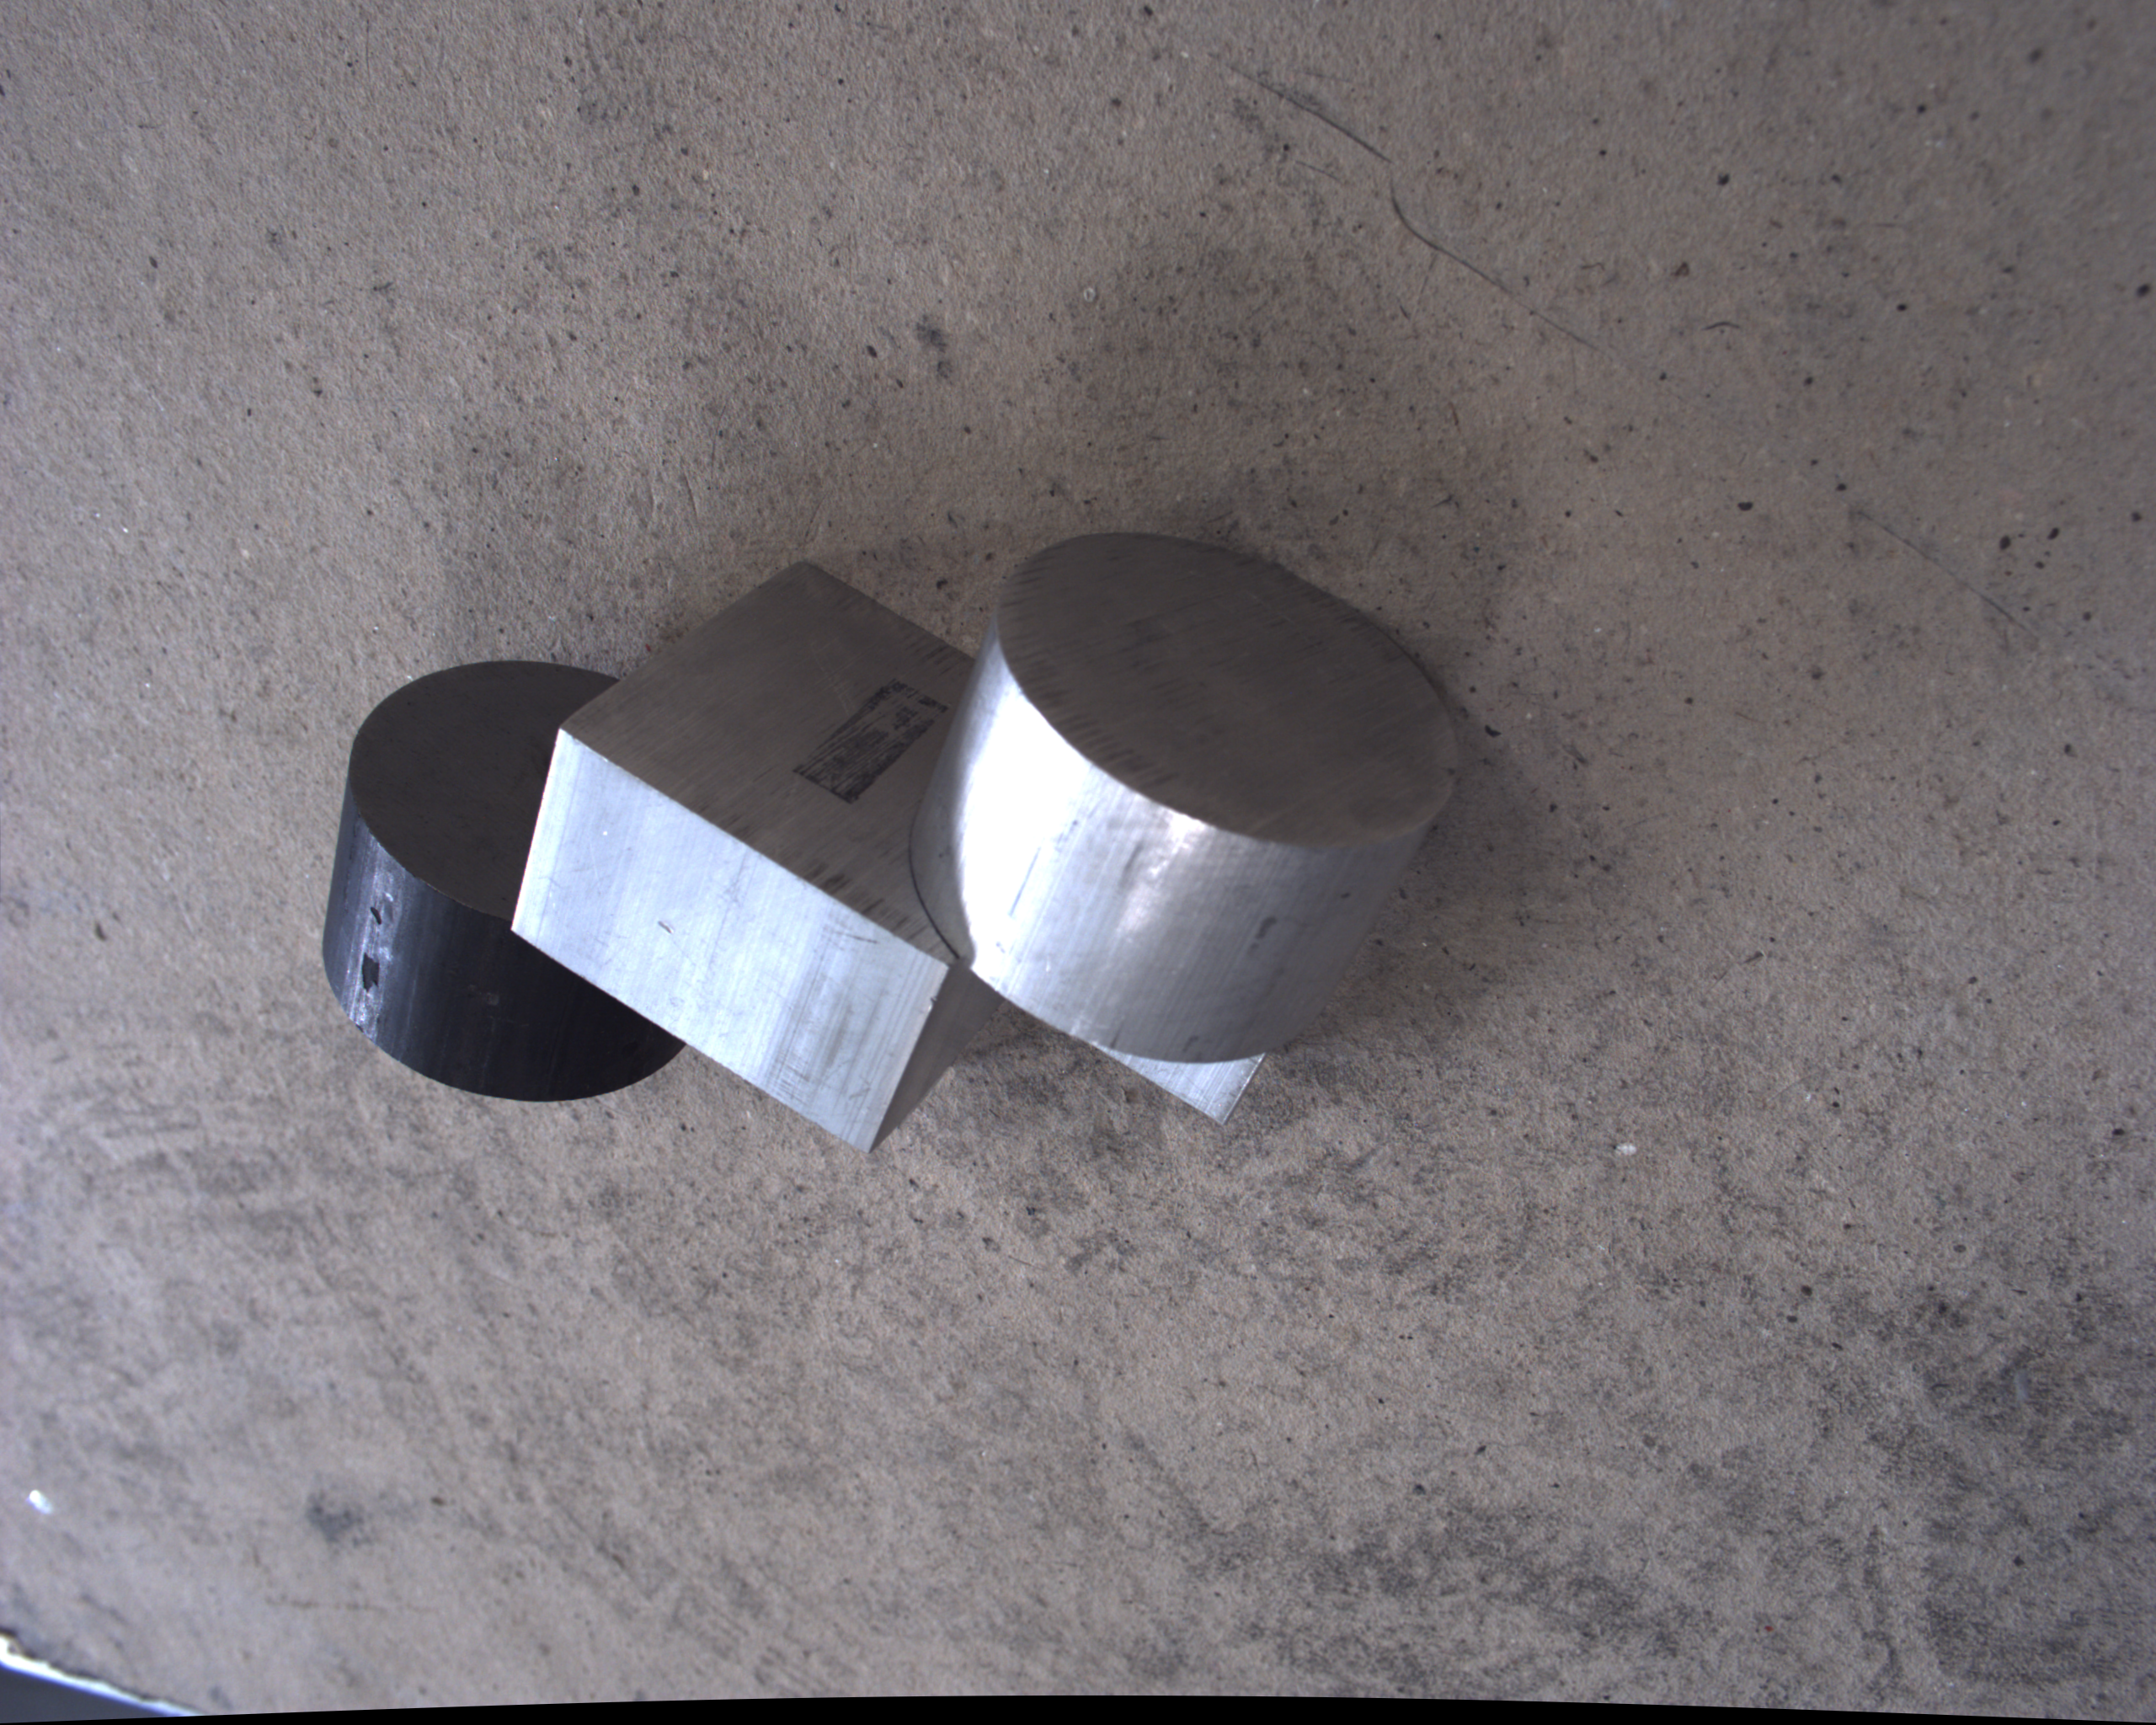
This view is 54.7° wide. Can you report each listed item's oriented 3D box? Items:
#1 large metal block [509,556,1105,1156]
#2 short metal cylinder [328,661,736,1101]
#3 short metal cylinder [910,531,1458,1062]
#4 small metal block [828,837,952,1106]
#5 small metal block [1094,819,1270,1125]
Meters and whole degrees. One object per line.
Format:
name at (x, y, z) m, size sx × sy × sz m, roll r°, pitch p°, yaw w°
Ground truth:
large metal block at (-0.046, -0.004, 0.395) m, size 0.080 × 0.080 × 0.050 m, roll 31°, pitch 128°, yaw 8°
short metal cylinder at (-0.111, 0.003, 0.433) m, size 0.080 × 0.080 × 0.050 m, roll 31°, pitch 128°, yaw 8°
short metal cylinder at (0.017, -0.013, 0.356) m, size 0.080 × 0.080 × 0.050 m, roll 31°, pitch 128°, yaw 8°
small metal block at (-0.047, 0.021, 0.447) m, size 0.050 × 0.025 × 0.050 m, roll 31°, pitch 128°, yaw 8°
small metal block at (0.021, 0.015, 0.407) m, size 0.050 × 0.025 × 0.050 m, roll 31°, pitch 128°, yaw 8°
